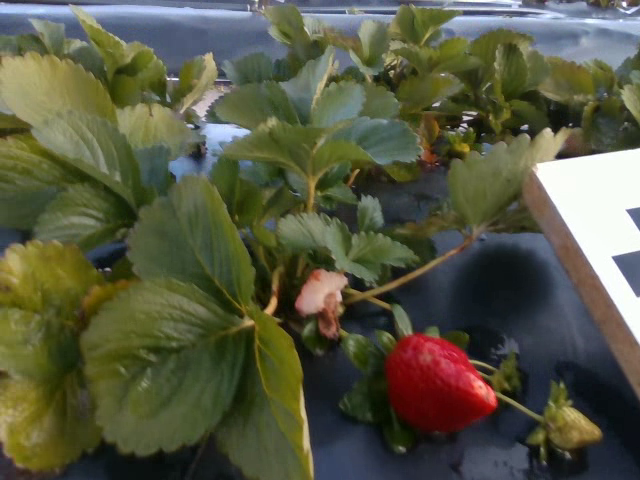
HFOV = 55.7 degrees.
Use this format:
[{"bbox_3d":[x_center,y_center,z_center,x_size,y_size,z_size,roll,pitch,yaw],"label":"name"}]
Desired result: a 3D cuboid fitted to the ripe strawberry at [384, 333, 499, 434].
[{"bbox_3d":[0.059,0.064,0.273,0.043,0.052,0.057,-37,8,-21],"label":"ripe strawberry"}]
